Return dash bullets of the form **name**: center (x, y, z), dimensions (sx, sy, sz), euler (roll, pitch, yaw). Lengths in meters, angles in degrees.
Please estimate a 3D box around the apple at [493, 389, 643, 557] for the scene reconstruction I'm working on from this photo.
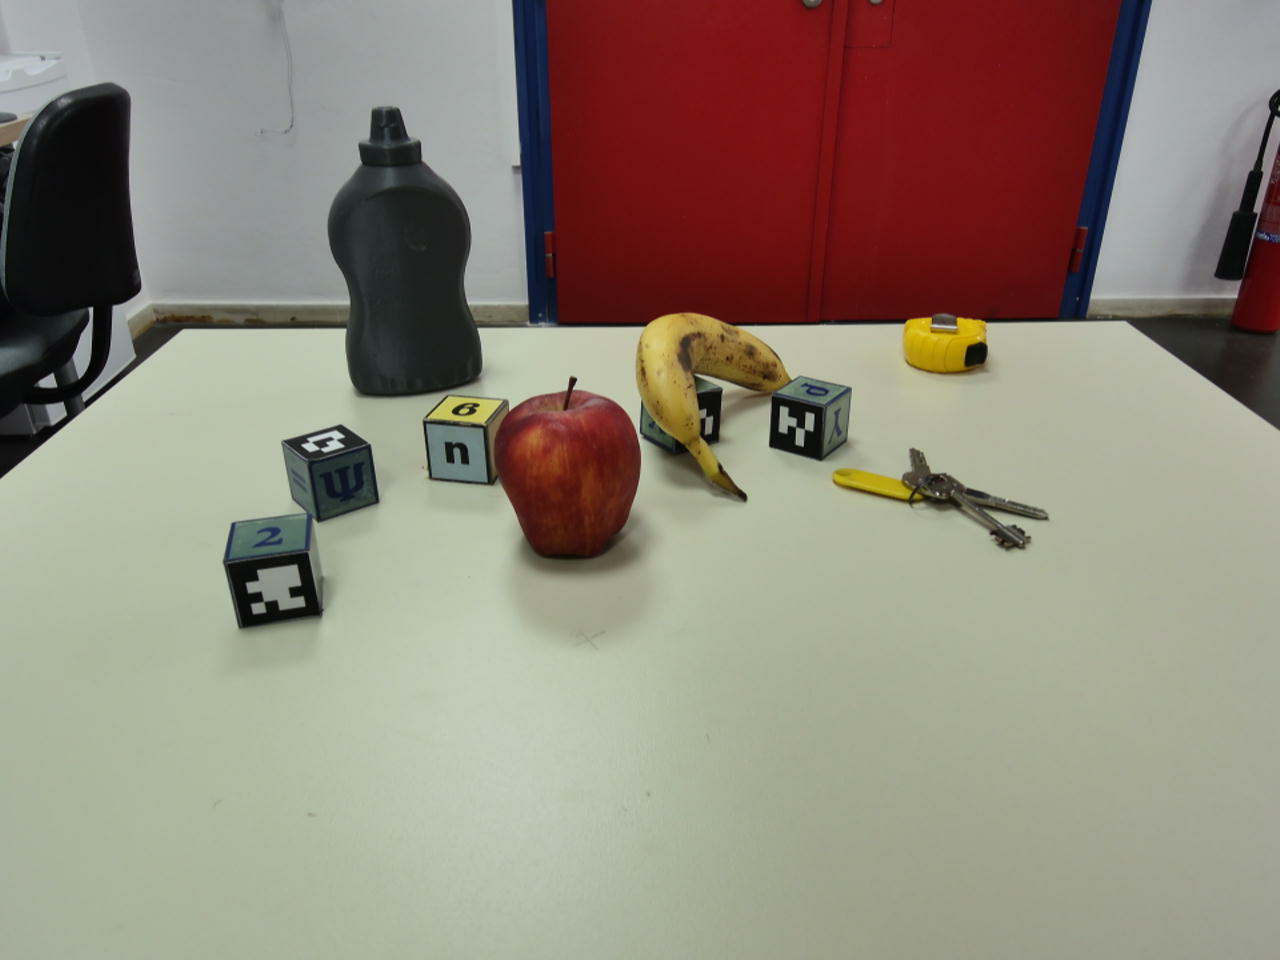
- **apple**: center (-0.039, -0.010, 0.521), dimensions (0.083, 0.090, 0.083), euler (-1, 26, 1)
